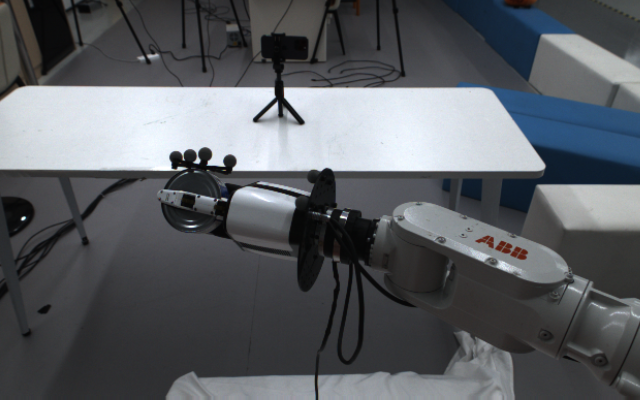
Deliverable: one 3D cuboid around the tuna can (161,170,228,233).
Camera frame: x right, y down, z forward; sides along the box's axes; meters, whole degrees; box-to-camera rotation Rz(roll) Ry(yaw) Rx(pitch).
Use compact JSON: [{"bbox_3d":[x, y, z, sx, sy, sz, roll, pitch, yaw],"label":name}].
[{"bbox_3d":[-0.165,0.002,0.649,0.085,0.085,0.034,12,-6,13],"label":"tuna can"}]
